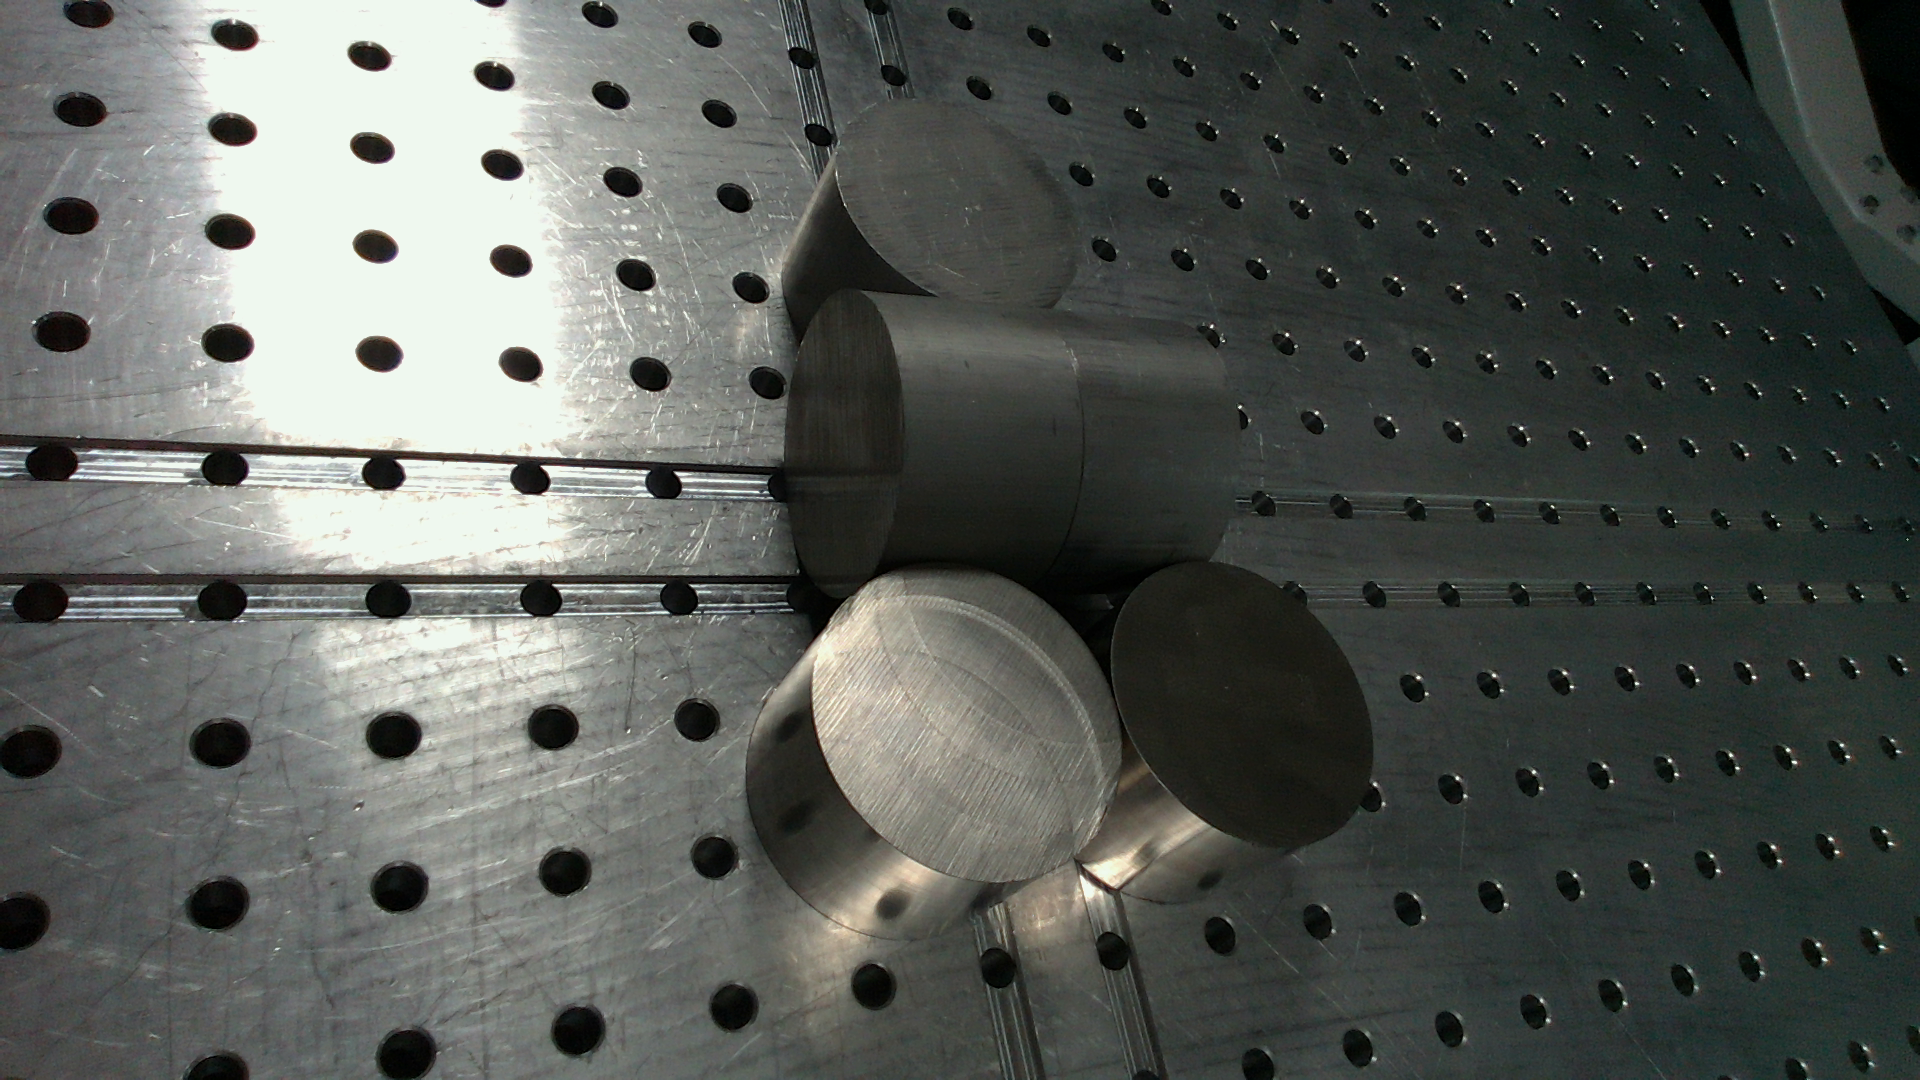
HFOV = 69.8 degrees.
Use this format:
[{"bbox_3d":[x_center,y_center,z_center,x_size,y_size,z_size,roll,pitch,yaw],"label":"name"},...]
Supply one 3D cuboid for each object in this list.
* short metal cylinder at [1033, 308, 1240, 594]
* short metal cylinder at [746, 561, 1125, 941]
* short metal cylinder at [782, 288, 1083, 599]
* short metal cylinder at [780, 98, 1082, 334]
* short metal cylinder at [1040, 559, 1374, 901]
[{"bbox_3d":[0.034,-0.025,0.392,0.050,0.080,0.080,0,61,-28],"label":"short metal cylinder"},{"bbox_3d":[-0.007,0.052,0.340,0.080,0.050,0.080,14,56,-21],"label":"short metal cylinder"},{"bbox_3d":[-0.010,-0.025,0.368,0.050,0.080,0.080,0,61,-28],"label":"short metal cylinder"},{"bbox_3d":[-0.010,-0.088,0.425,0.080,0.050,0.080,14,56,-21],"label":"short metal cylinder"},{"bbox_3d":[0.065,0.052,0.377,0.080,0.050,0.080,14,56,-21],"label":"short metal cylinder"}]
